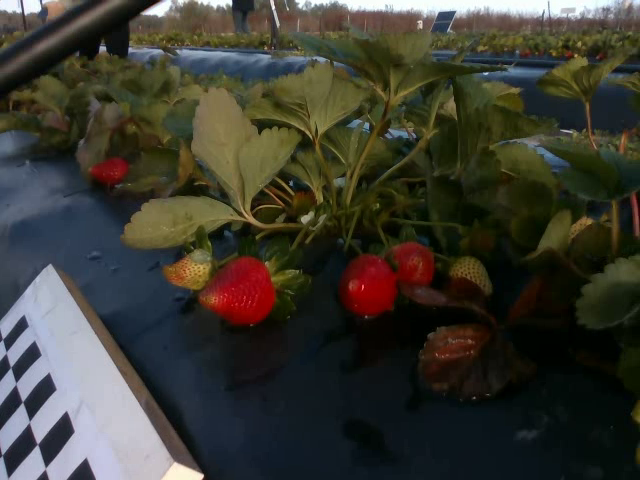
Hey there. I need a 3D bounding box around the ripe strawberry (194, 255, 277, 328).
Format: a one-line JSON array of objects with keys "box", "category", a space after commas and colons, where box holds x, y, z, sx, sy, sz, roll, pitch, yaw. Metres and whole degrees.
[{"box": [-0.059, 0.031, 0.392, 0.050, 0.050, 0.065, -21, -12, 32], "category": "ripe strawberry"}]

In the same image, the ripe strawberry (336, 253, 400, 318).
[{"box": [0.026, 0.031, 0.377, 0.044, 0.042, 0.055, -37, -14, 14], "category": "ripe strawberry"}]
